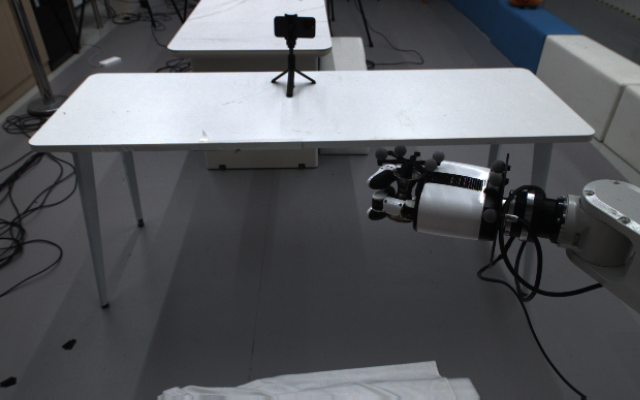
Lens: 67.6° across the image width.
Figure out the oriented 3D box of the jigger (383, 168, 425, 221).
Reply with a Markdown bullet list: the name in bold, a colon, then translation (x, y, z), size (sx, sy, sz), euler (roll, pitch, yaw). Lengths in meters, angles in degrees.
- **jigger**: translation (0.125, -0.008, 0.701), size (0.043, 0.071, 0.043), euler (3, 25, -1)
